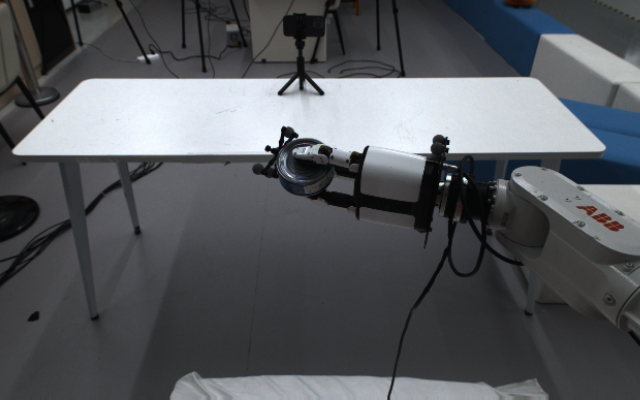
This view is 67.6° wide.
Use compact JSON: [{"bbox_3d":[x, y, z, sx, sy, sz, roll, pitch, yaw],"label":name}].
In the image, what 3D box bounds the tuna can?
[{"bbox_3d":[-0.019,-0.046,0.719,0.085,0.034,0.085,-1,62,1],"label":"tuna can"}]
